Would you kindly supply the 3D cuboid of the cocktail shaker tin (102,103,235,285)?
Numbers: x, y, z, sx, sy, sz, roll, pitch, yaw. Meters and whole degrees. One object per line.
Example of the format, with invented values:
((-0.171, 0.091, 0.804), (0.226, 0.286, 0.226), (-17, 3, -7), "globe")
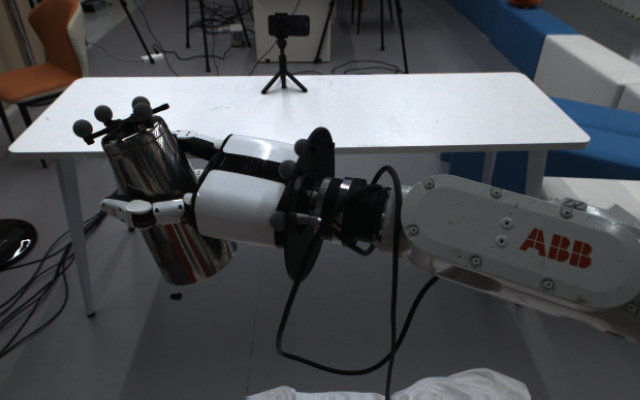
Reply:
((-0.165, 0.000, 0.530), (0.093, 0.170, 0.093), (-15, 29, 8), "cocktail shaker tin")
